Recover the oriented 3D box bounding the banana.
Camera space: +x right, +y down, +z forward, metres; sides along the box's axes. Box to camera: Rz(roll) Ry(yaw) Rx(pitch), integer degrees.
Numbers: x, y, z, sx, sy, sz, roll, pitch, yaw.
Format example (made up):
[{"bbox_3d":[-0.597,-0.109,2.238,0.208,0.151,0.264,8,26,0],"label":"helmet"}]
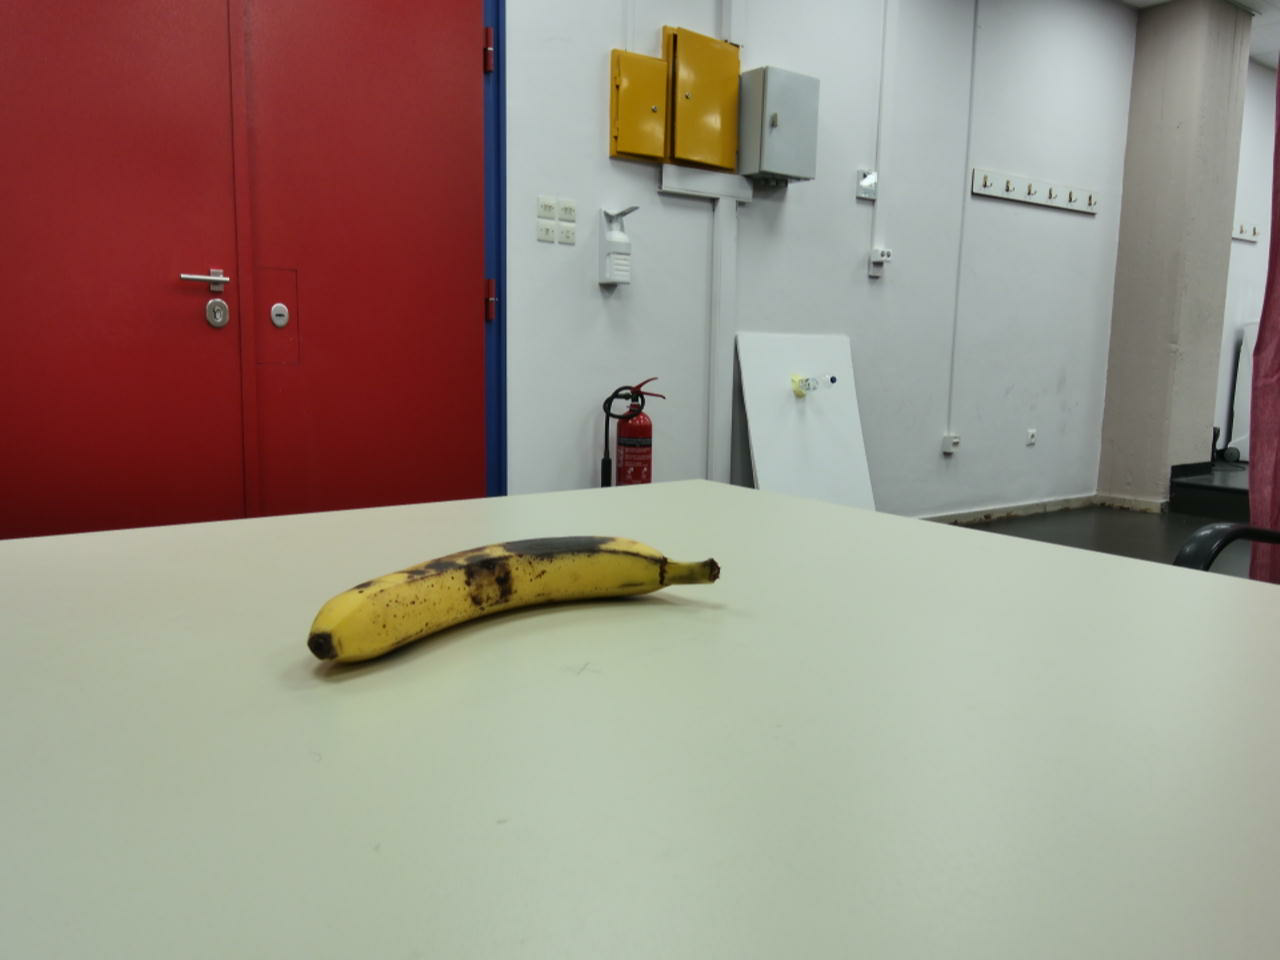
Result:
[{"bbox_3d":[-0.067,0.054,0.507,0.222,0.037,0.084,-5,8,-37],"label":"banana"}]
